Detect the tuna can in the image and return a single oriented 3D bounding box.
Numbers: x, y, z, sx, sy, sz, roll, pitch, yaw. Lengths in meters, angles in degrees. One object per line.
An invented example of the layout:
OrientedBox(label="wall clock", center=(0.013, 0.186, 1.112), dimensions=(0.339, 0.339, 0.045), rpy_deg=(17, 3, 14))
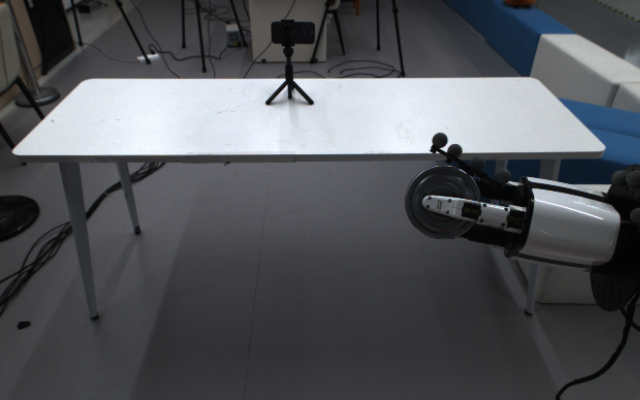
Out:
OrientedBox(label="tuna can", center=(0.146, 0.007, 0.556), dimensions=(0.085, 0.085, 0.034), rpy_deg=(13, 4, 15))
